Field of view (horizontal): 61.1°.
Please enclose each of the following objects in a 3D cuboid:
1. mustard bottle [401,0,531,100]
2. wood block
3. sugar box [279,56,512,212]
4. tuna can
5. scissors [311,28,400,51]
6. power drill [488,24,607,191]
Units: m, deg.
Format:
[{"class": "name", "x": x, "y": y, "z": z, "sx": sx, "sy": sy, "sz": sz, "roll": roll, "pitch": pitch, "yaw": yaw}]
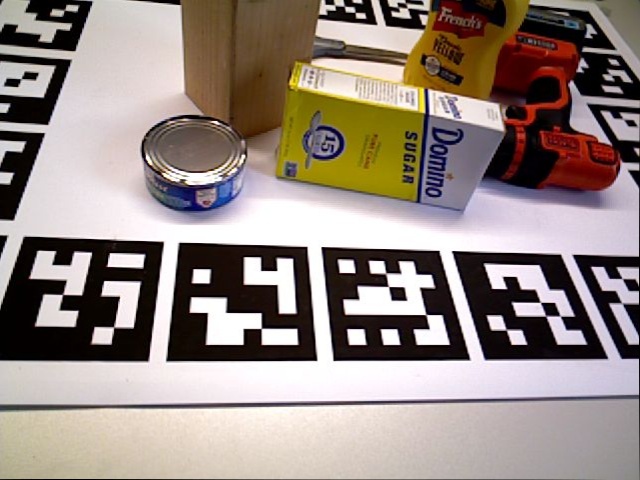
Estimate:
[{"class": "mustard bottle", "x": 0.146, "y": -0.218, "z": 0.523, "sx": 0.096, "sy": 0.196, "sz": 0.057, "roll": 42, "pitch": 57, "yaw": 19}, {"class": "wood block", "x": -0.064, "y": -0.199, "z": 0.460, "sx": 0.089, "sy": 0.211, "sz": 0.089, "roll": -23, "pitch": 62, "yaw": -26}, {"class": "sugar box", "x": 0.058, "y": -0.085, "z": 0.461, "sx": 0.175, "sy": 0.095, "sz": 0.044, "roll": 12, "pitch": 48, "yaw": -4}, {"class": "tuna can", "x": -0.107, "y": -0.069, "z": 0.449, "sx": 0.085, "sy": 0.034, "sz": 0.084, "roll": 5, "pitch": 53, "yaw": -8}, {"class": "scissors", "x": -0.008, "y": -0.222, "z": 0.599, "sx": 0.201, "sy": 0.016, "sz": 0.086, "roll": 4, "pitch": 49, "yaw": -8}, {"class": "power drill", "x": 0.187, "y": -0.139, "z": 0.547, "sx": 0.184, "sy": 0.058, "sz": 0.184, "roll": 12, "pitch": 59, "yaw": -1}]
